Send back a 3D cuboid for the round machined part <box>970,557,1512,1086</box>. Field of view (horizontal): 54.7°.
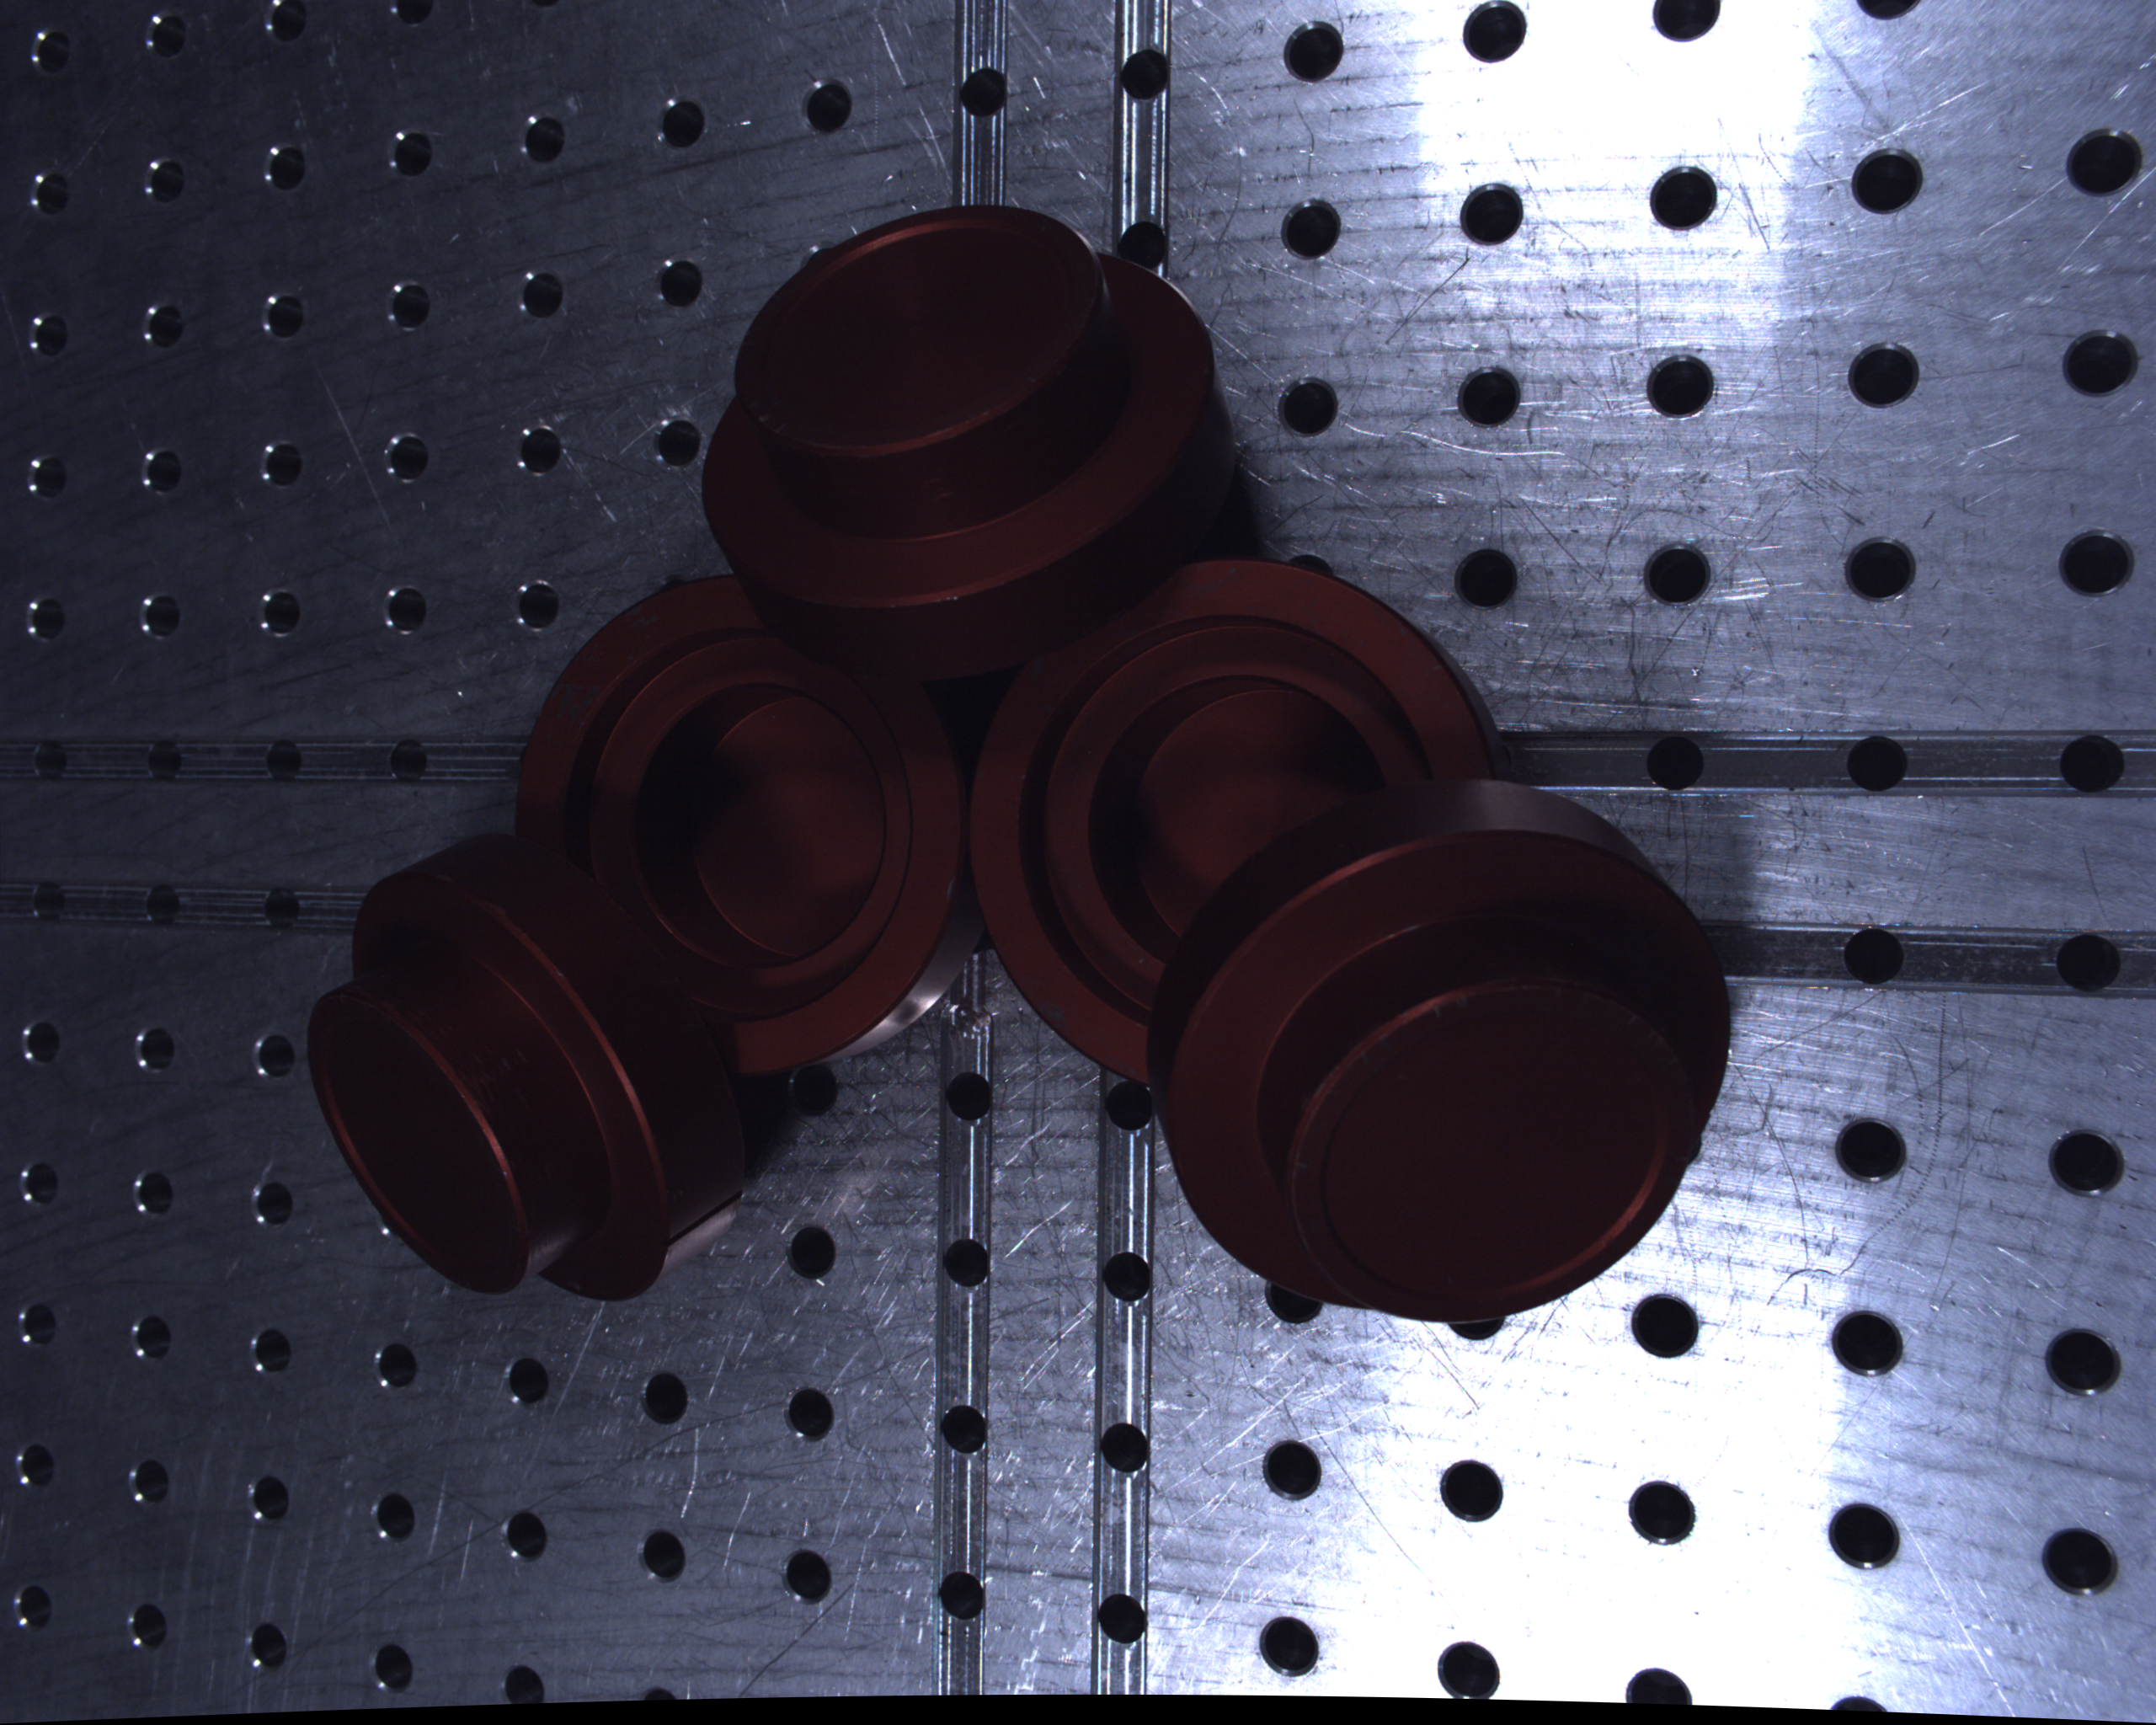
[{"bbox_3d":[0.033,-0.006,0.391,0.098,0.042,0.097,0,90,19],"label":"round machined part"}]

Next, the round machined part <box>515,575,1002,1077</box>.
[{"bbox_3d":[-0.060,-0.007,0.423,0.098,0.042,0.097,0,90,19],"label":"round machined part"}]

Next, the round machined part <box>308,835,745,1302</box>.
[{"bbox_3d":[-0.116,0.047,0.418,0.098,0.042,0.097,24,130,32],"label":"round machined part"}]

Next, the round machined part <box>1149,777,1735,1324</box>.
[{"bbox_3d":[0.064,0.038,0.352,0.099,0.042,0.097,-4,117,-7],"label":"round machined part"}]

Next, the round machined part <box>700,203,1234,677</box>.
[{"bbox_3d":[-0.024,-0.084,0.384,0.098,0.042,0.098,-9,49,12],"label":"round machined part"}]
